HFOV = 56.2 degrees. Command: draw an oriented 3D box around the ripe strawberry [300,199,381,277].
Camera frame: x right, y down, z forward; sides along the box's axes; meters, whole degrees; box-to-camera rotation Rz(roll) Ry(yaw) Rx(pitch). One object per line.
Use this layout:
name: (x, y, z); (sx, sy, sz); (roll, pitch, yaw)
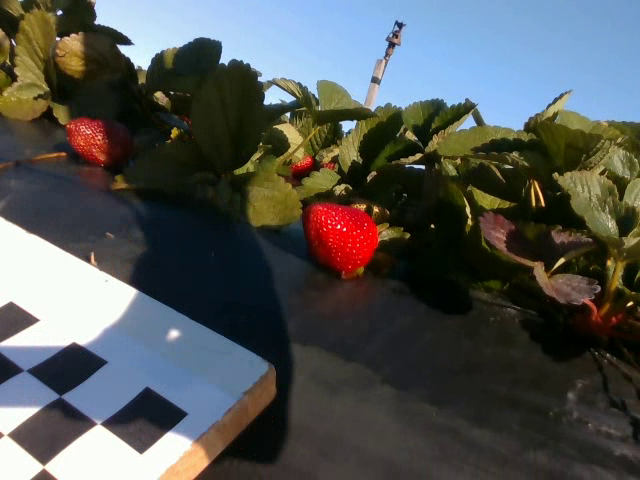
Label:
ripe strawberry: (0.007, -0.004, 0.316); (0.050, 0.043, 0.043); (37, 15, -41)

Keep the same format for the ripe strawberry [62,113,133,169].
ripe strawberry: (-0.157, -0.071, 0.423); (0.041, 0.043, 0.053); (34, 3, 33)
